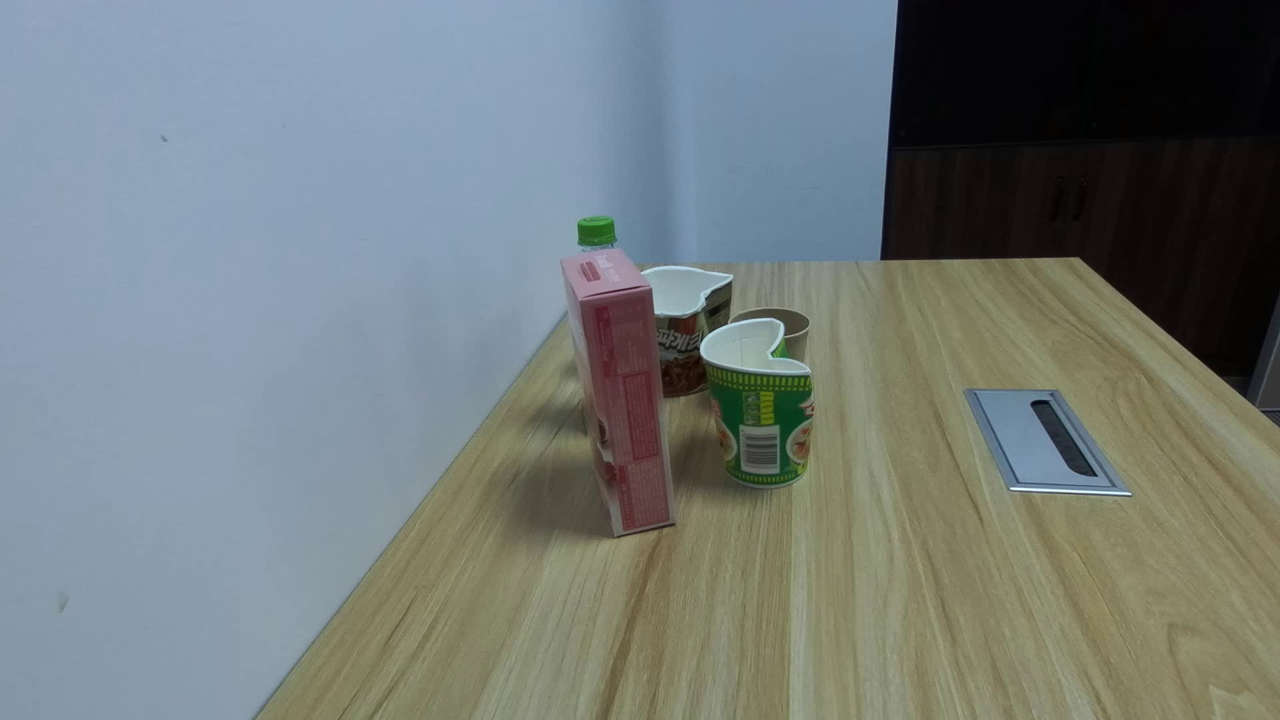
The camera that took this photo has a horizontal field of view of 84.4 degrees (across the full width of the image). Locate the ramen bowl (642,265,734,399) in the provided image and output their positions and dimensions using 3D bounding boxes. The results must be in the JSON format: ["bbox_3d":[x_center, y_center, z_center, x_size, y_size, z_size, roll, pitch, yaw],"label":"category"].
[{"bbox_3d":[0.019,-0.030,0.714,0.133,0.097,0.114,6,29,19],"label":"ramen bowl"}]

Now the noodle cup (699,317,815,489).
[{"bbox_3d":[0.094,0.035,0.546,0.086,0.109,0.094,4,28,18],"label":"noodle cup"}]

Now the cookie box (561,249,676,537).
[{"bbox_3d":[-0.015,0.023,0.508,0.048,0.185,0.096,-11,26,-9],"label":"cookie box"}]

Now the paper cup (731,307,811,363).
[{"bbox_3d":[0.118,0.005,0.647,0.075,0.082,0.075,-4,22,2],"label":"paper cup"}]

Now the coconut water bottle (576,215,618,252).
[{"bbox_3d":[-0.035,-0.042,0.640,0.063,0.189,0.063,0,42,0],"label":"coconut water bottle"}]
